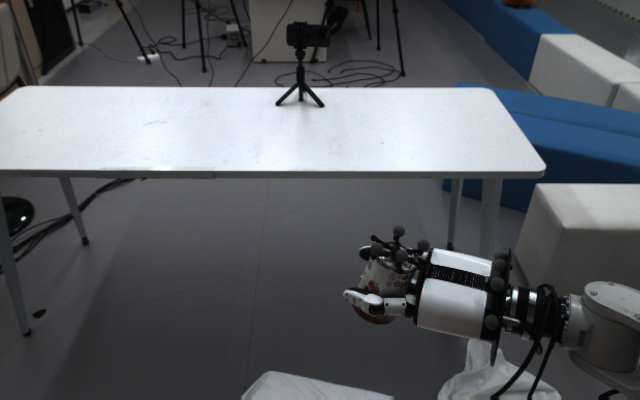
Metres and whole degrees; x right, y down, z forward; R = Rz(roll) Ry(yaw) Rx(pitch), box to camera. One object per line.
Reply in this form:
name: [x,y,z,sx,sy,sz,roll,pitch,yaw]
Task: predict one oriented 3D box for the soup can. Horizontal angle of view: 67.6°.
soup can: [0.093,0.118,0.694,0.067,0.101,0.067,13,30,-8]
